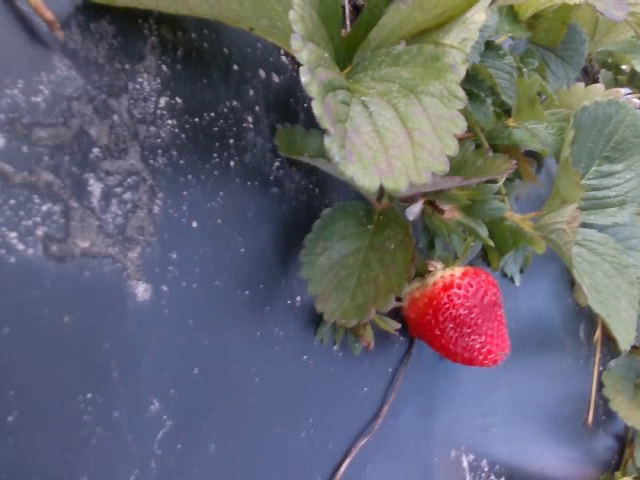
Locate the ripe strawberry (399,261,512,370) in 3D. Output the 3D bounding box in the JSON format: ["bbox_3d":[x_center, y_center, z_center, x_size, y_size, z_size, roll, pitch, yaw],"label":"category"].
[{"bbox_3d":[0.064,0.039,0.273,0.049,0.053,0.050,-42,-42,20],"label":"ripe strawberry"}]
